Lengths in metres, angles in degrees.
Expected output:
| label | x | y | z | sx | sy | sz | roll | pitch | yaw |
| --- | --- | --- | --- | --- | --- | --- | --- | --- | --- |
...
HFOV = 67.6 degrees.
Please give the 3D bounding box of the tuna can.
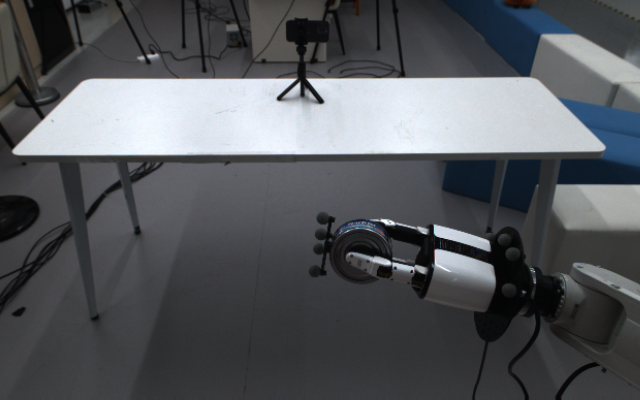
| label | x | y | z | sx | sy | sz | roll | pitch | yaw |
| --- | --- | --- | --- | --- | --- | --- | --- | --- | --- |
| tuna can | 0.058 | 0.075 | 0.657 | 0.085 | 0.085 | 0.034 | 5 | 17 | 4 |
